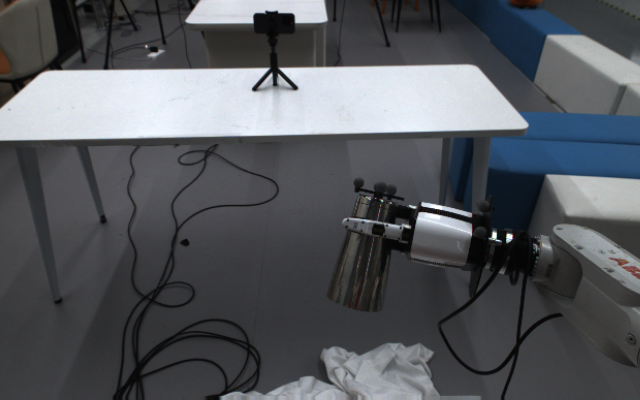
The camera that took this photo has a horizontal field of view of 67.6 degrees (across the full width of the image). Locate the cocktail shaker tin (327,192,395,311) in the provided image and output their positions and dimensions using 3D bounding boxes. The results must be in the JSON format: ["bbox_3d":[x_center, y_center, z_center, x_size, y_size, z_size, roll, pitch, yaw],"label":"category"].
[{"bbox_3d":[0.075,0.079,0.774,0.093,0.170,0.093,13,3,-1],"label":"cocktail shaker tin"}]
